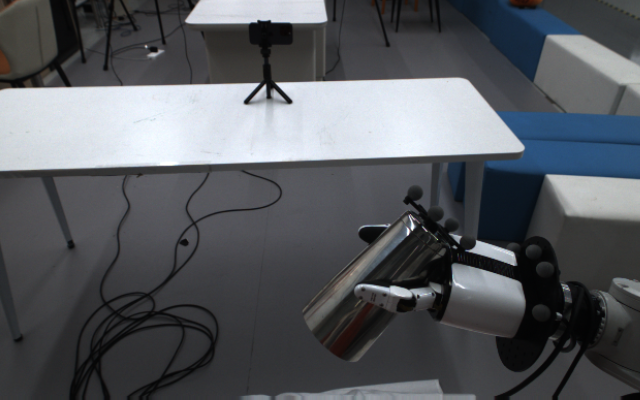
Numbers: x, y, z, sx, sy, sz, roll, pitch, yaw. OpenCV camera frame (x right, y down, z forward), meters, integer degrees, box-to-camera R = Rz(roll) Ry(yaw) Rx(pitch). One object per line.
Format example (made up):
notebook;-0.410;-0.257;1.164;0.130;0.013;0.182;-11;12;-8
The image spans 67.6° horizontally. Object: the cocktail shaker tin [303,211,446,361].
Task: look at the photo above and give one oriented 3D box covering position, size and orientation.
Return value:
cocktail shaker tin;0.070;0.091;0.567;0.093;0.170;0.093;41;12;-11
